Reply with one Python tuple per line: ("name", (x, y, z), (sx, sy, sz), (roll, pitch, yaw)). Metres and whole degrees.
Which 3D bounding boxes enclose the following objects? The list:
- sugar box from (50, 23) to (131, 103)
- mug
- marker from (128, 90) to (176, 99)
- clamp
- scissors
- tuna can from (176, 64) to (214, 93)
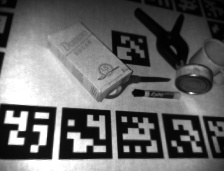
("sugar box", (-0.049, -0.056, 0.481), (0.093, 0.045, 0.175), (-33, 73, -28))
("mug", (0.256, -0.057, 0.571), (0.094, 0.081, 0.116), (-23, 71, -26))
("marker", (0.096, 0.022, 0.514), (0.122, 0.019, 0.019), (1, 66, -17))
("clamp", (0.157, -0.134, 0.609), (0.167, 0.036, 0.201), (-5, 69, -21))
("scissors", (0.051, -0.020, 0.516), (0.205, 0.016, 0.087), (-5, 64, -22))
("tuna can", (0.202, -0.015, 0.528), (0.086, 0.085, 0.034), (20, 61, -8))
